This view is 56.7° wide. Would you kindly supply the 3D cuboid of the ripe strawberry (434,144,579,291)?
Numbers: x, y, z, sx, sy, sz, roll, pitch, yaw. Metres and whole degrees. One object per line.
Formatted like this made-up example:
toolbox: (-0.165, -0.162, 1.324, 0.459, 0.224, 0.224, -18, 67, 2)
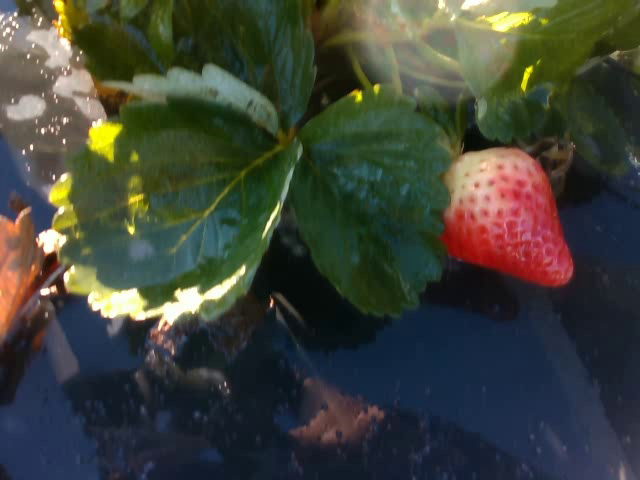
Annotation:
ripe strawberry: (0.069, -0.003, 0.212, 0.040, 0.065, 0.040, -41, 2, -11)
